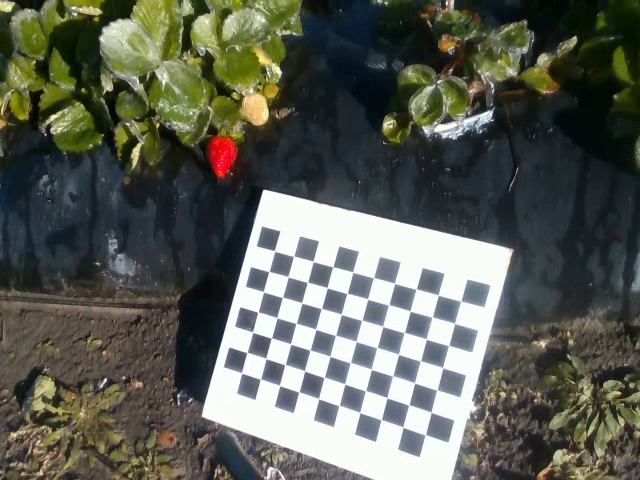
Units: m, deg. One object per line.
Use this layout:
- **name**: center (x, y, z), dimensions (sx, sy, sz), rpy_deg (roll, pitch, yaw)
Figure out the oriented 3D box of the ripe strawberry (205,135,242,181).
- **ripe strawberry**: center (-0.121, -0.100, 0.865), dimensions (0.041, 0.052, 0.040), rpy_deg (-3, -15, 15)
